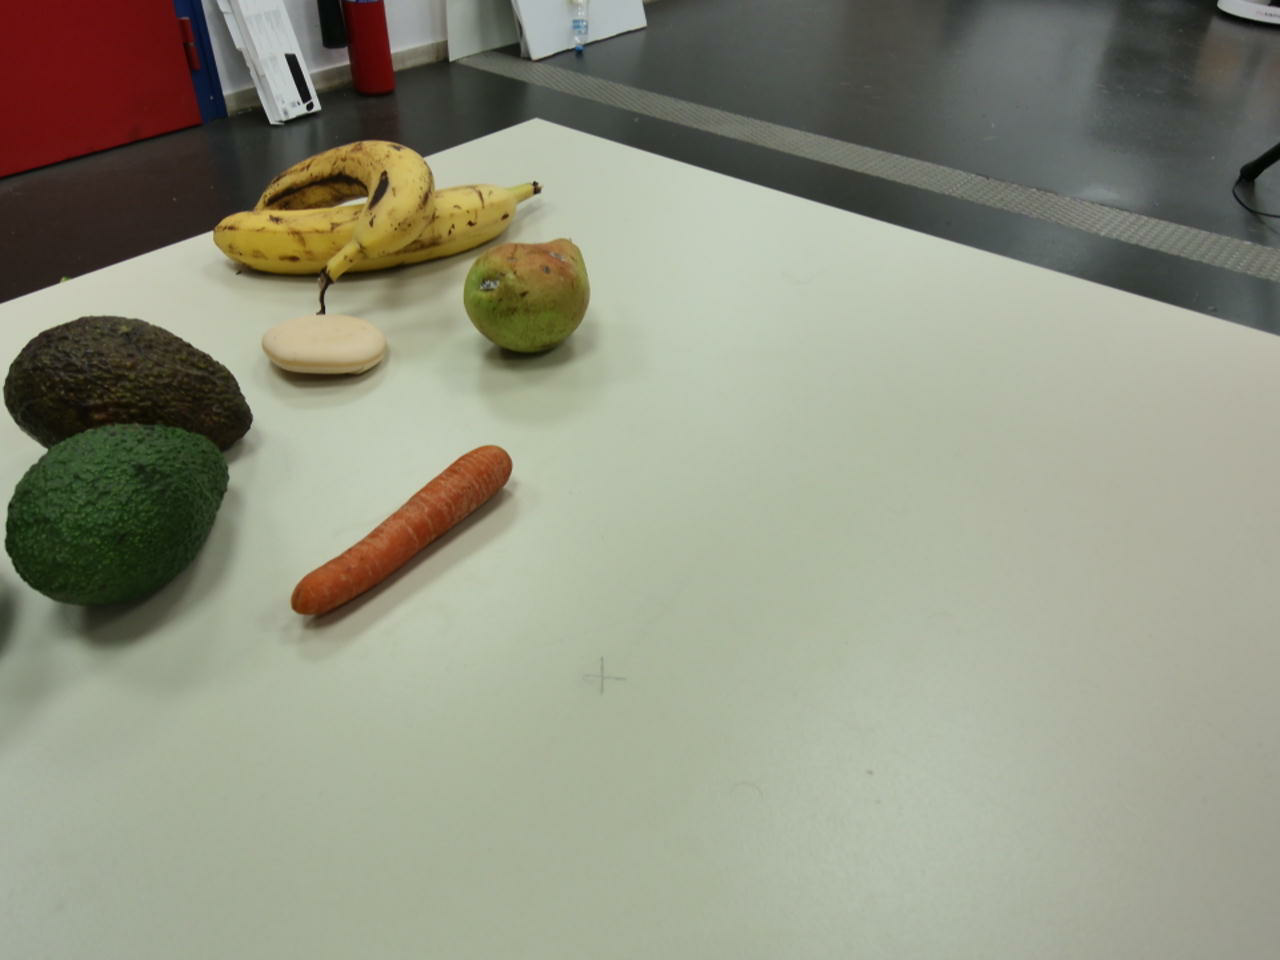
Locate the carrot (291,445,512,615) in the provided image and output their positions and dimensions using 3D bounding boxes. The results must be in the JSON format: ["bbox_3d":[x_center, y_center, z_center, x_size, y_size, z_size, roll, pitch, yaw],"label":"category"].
[{"bbox_3d":[-0.097,0.019,0.423,0.024,0.023,0.122,23,41,28],"label":"carrot"}]
